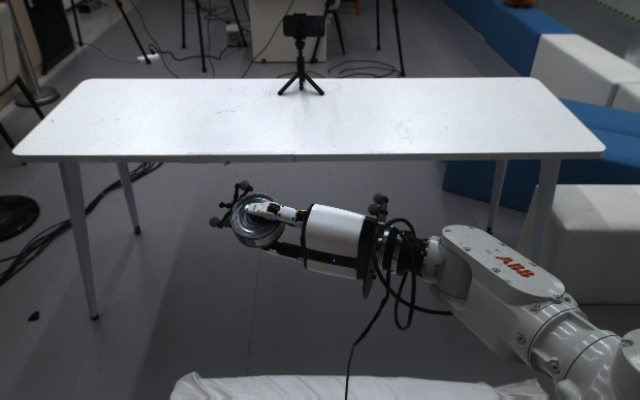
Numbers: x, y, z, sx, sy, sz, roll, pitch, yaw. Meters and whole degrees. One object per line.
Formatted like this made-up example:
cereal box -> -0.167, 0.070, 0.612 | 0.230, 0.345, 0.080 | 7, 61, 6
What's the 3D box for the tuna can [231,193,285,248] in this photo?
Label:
tuna can -> -0.097, 0.036, 0.776 | 0.085, 0.034, 0.085 | -1, 63, 2
